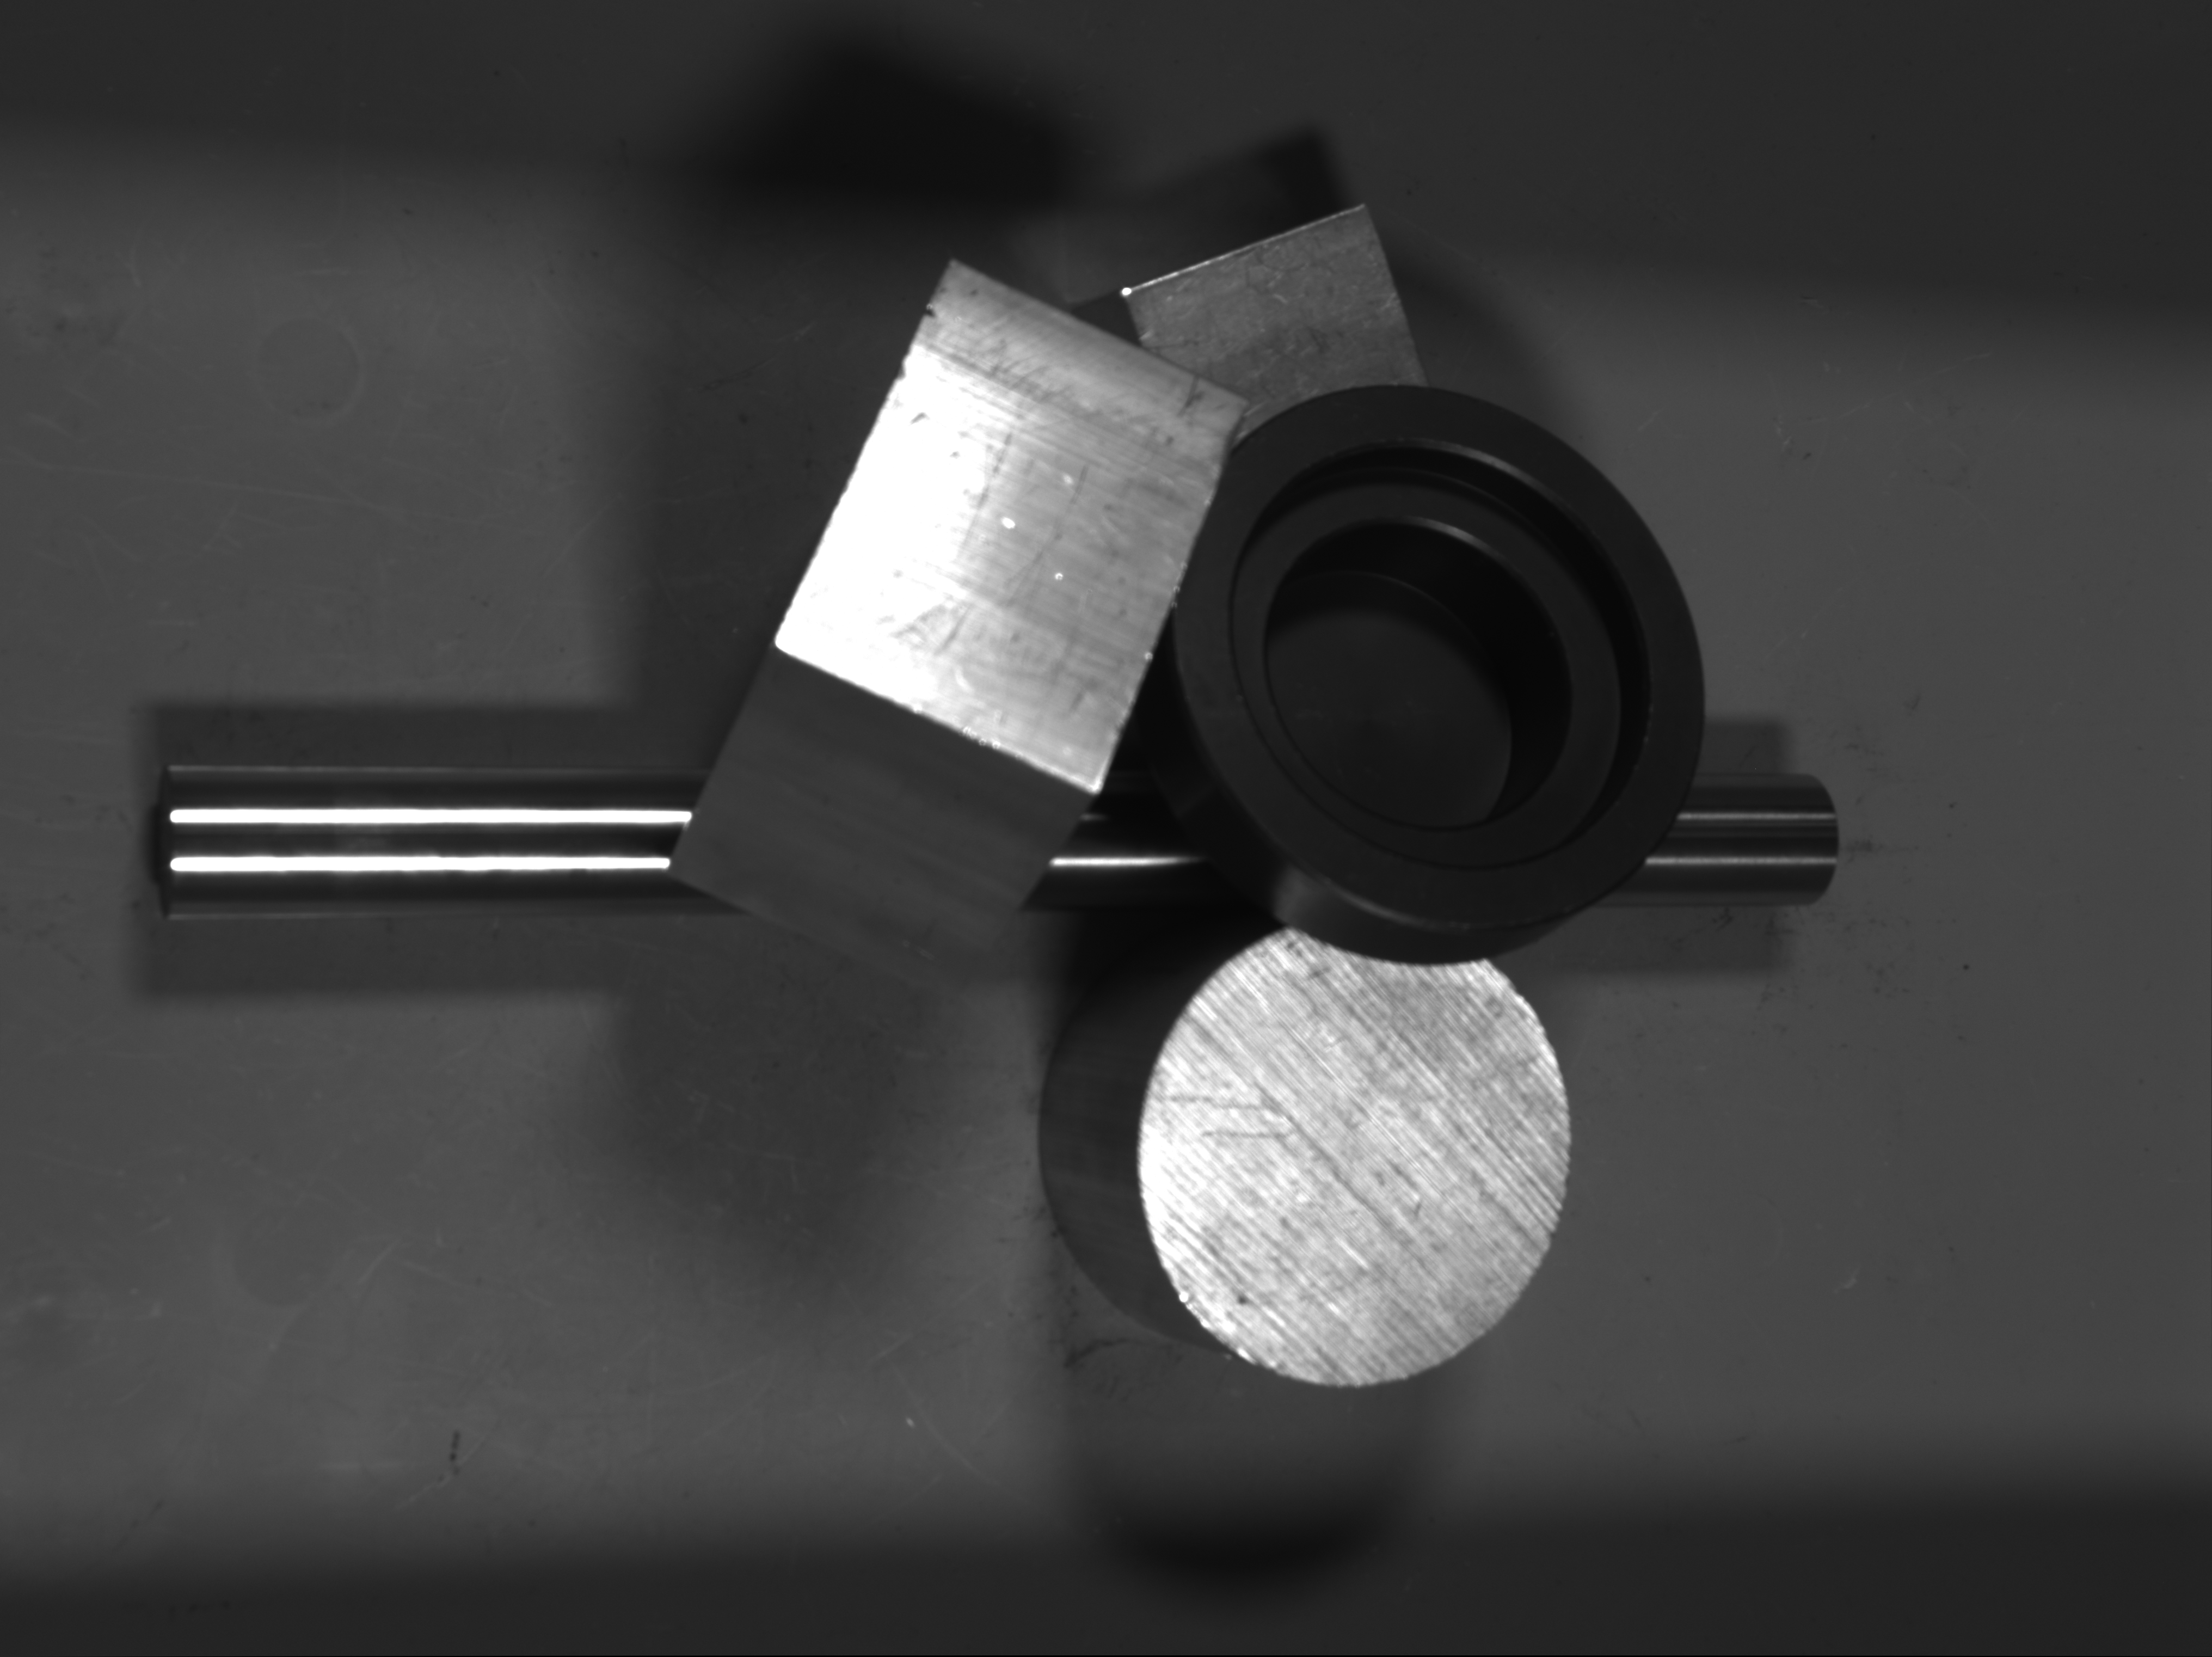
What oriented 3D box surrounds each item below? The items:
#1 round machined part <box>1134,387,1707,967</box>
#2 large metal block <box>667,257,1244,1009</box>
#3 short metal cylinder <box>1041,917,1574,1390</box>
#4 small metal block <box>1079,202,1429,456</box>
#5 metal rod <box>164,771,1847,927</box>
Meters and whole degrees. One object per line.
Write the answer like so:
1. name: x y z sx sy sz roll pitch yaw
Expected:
1. round machined part: 0.050 -0.023 0.631 0.098 0.042 0.098 6 70 -18
2. large metal block: -0.025 -0.030 0.589 0.050 0.080 0.080 24 59 -7
3. short metal cylinder: 0.035 0.055 0.640 0.080 0.050 0.080 0 90 -20
4. small metal block: 0.028 -0.078 0.653 0.050 0.025 0.050 -22 97 -19
5. metal rod: -0.008 0.003 0.637 0.301 0.025 0.025 0 90 -20
